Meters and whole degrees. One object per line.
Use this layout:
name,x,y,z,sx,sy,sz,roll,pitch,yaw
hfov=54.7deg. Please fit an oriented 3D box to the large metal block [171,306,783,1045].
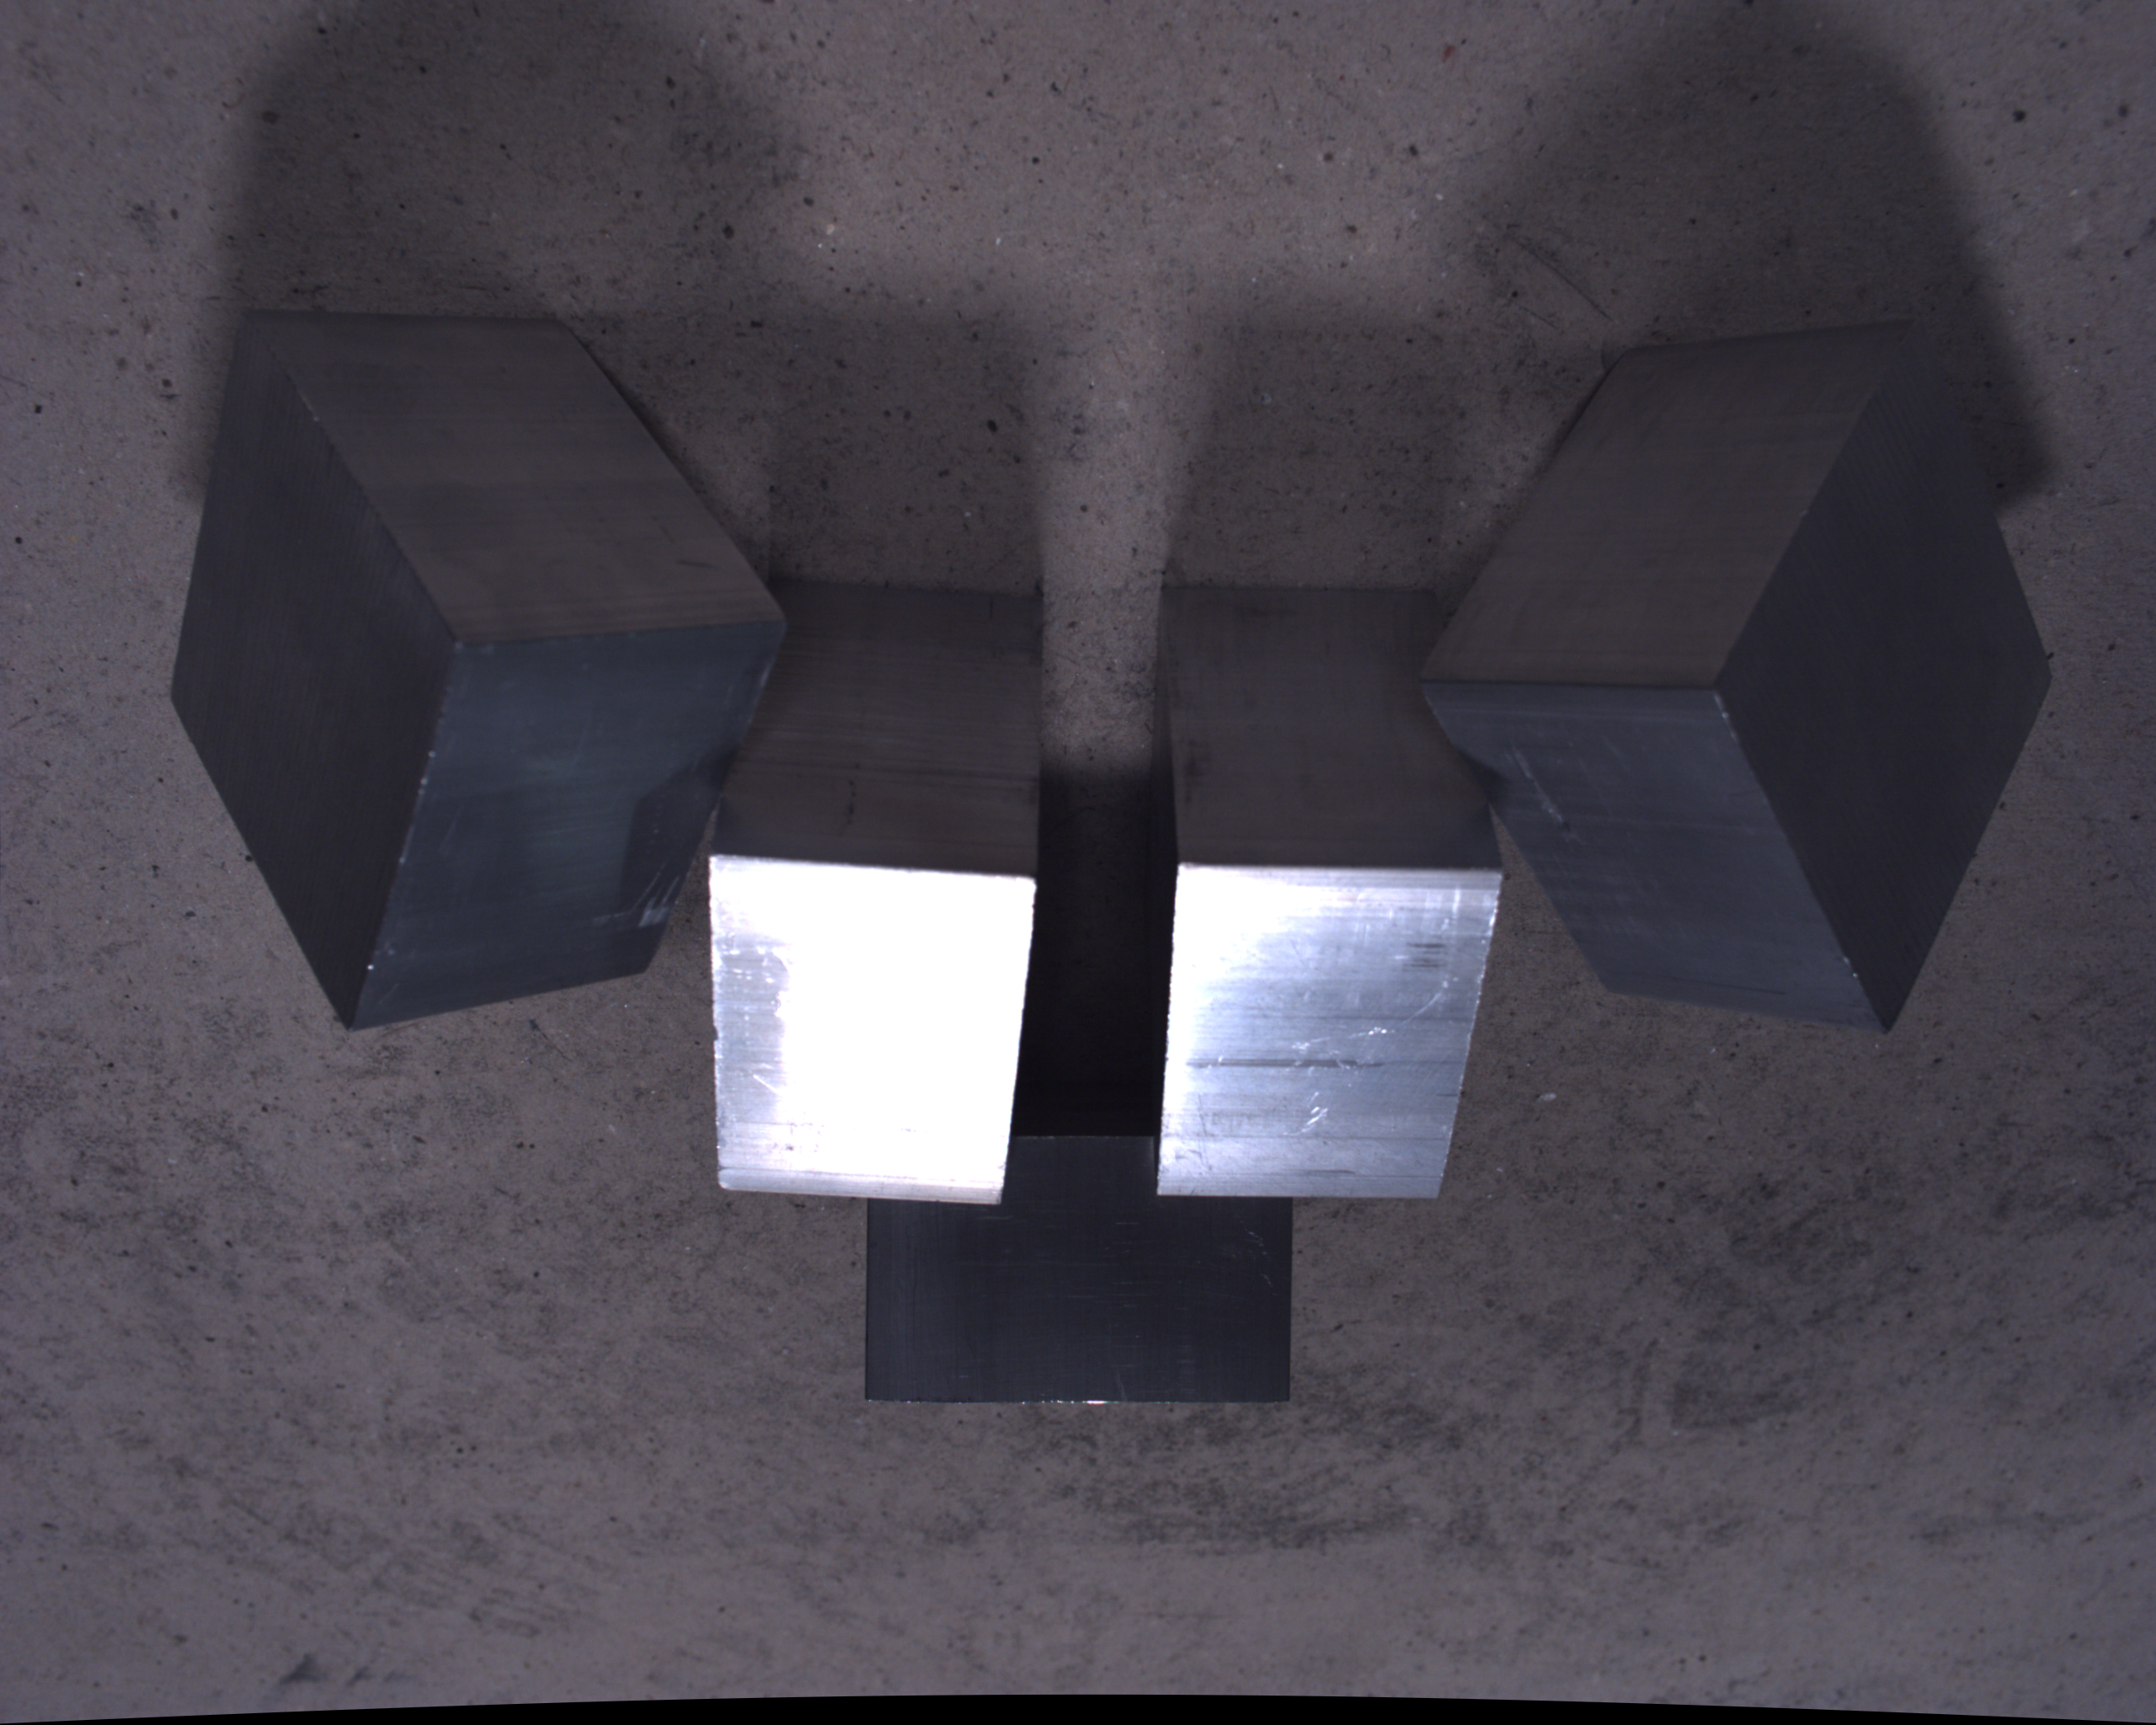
large metal block,-0.100,-0.031,0.333,0.050,0.080,0.079,-11,142,-41

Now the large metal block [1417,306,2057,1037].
large metal block,0.111,-0.031,0.340,0.050,0.080,0.080,6,143,46

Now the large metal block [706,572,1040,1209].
large metal block,-0.035,0.005,0.376,0.050,0.080,0.079,4,130,-4

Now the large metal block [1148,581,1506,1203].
large metal block,0.040,0.005,0.378,0.050,0.080,0.079,1,130,-1

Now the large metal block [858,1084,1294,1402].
large metal block,-0.001,0.075,0.428,0.081,0.080,0.050,1,91,-1
